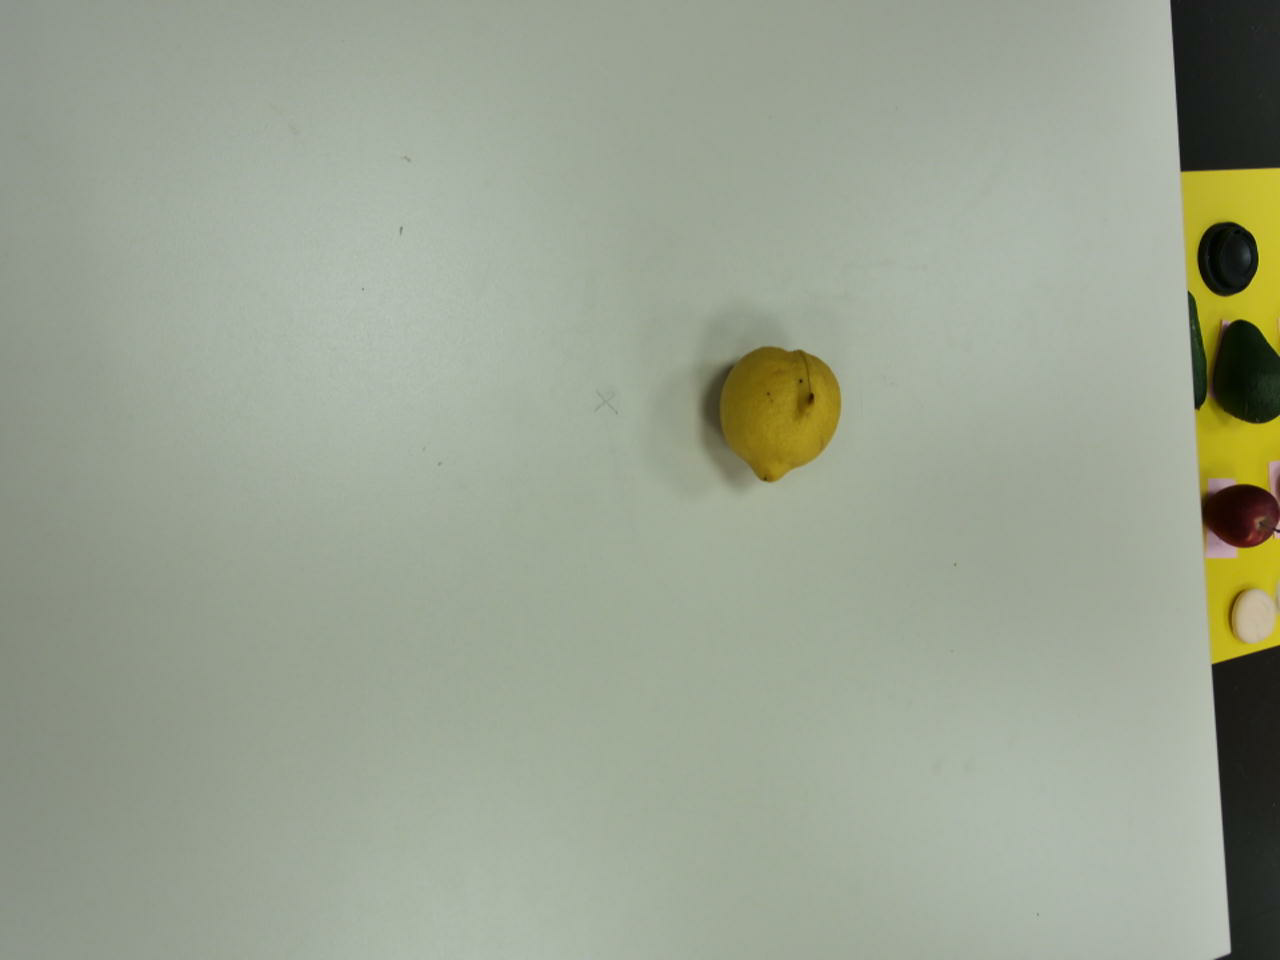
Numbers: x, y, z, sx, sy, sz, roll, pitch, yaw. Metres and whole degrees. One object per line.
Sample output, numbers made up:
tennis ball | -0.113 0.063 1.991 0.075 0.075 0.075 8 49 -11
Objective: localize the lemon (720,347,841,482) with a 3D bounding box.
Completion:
lemon | 0.080 -0.041 0.567 0.071 0.071 0.070 -41 105 -16
